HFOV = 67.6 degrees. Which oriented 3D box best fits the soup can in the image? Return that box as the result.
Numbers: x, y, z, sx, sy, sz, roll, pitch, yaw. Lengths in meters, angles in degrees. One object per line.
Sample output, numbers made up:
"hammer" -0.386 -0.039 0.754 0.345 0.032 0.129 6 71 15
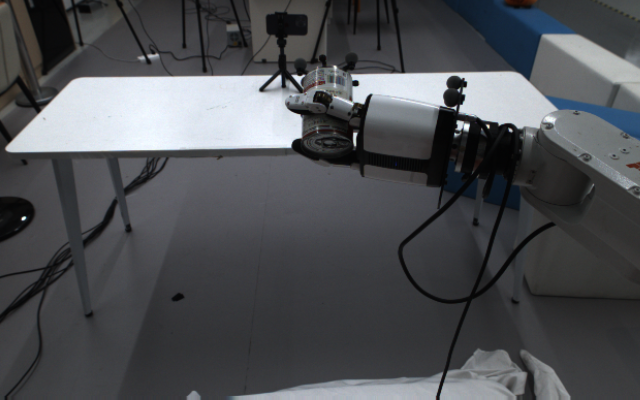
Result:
"soup can" 0.011 -0.114 0.628 0.067 0.067 0.101 1 68 -1
